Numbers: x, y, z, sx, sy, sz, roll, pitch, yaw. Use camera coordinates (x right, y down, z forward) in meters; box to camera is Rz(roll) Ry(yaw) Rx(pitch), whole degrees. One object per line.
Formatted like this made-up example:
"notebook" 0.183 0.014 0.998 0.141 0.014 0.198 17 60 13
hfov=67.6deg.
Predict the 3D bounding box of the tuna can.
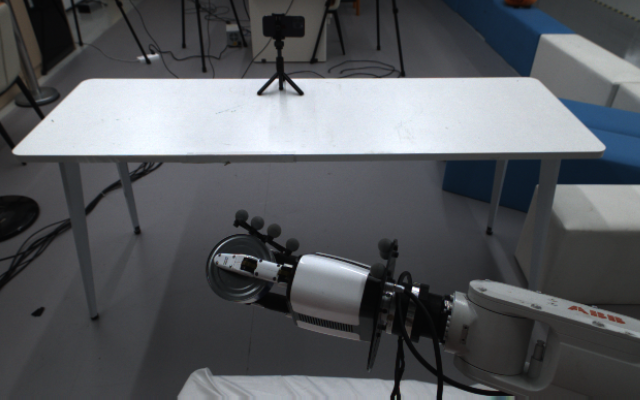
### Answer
"tuna can" -0.097 0.088 0.616 0.085 0.034 0.085 -2 71 6
